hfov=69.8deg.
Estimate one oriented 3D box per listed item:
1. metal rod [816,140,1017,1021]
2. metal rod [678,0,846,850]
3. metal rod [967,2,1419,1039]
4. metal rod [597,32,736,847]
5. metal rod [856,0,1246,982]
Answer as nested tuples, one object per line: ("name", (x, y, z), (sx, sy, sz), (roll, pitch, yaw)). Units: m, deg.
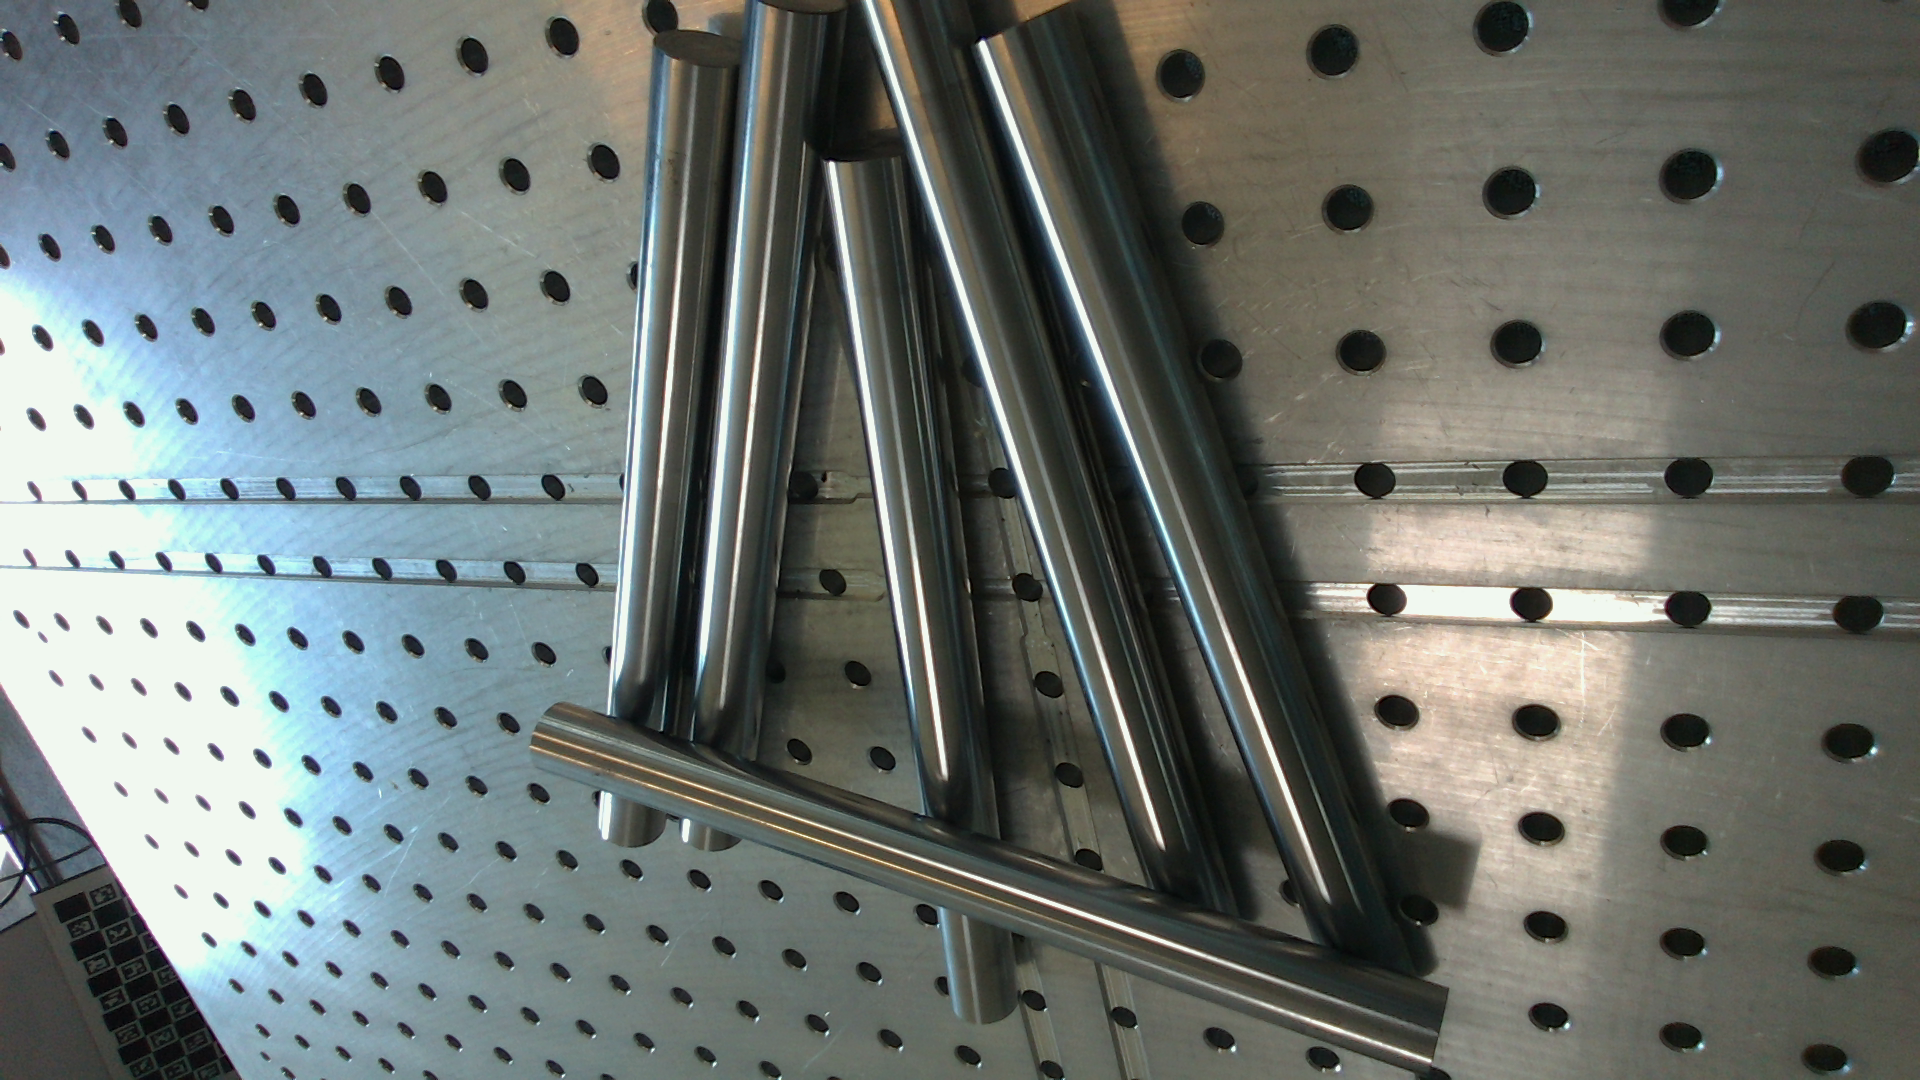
("metal rod", (-0.008, 0.032, 0.420), (0.025, 0.025, 0.300), (8, 122, 24))
("metal rod", (-0.066, -0.014, 0.424), (0.025, 0.025, 0.300), (23, 127, 14))
("metal rod", (0.070, 0.011, 0.365), (0.025, 0.025, 0.300), (-10, 113, 33))
("metal rod", (-0.098, -0.009, 0.442), (0.025, 0.025, 0.300), (24, 127, 13))
("metal rod", (0.033, -0.001, 0.378), (0.025, 0.025, 0.300), (-5, 116, 31))
